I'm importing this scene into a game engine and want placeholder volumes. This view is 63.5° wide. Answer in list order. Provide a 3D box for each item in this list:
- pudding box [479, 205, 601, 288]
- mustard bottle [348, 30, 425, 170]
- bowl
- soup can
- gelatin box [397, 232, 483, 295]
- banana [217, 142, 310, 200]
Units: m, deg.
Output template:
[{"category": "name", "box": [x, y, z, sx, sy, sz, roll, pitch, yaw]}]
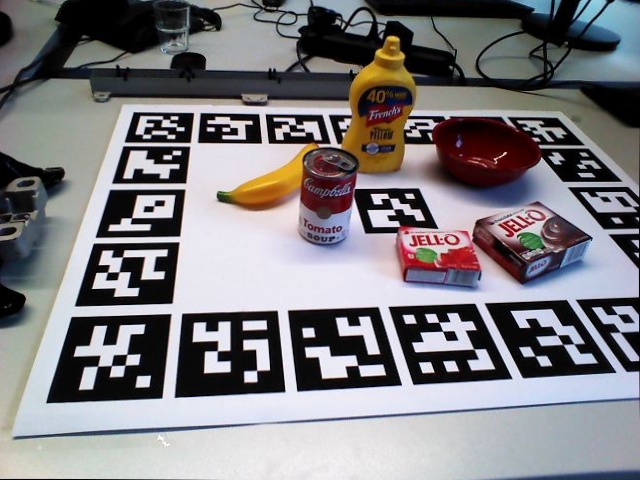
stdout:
[{"category": "pudding box", "box": [0.272, 0.004, 0.646, 0.113, 0.039, 0.090, -17, 50, -25]}, {"category": "mustard bottle", "box": [0.096, -0.194, 0.727, 0.096, 0.192, 0.058, 0, 38, -7]}, {"category": "bowl", "box": [0.261, -0.120, 0.787, 0.162, 0.055, 0.161, 2, 39, -2]}, {"category": "soup can", "box": [0.003, -0.059, 0.629, 0.068, 0.102, 0.067, 5, 38, -4]}, {"category": "gelatin box", "box": [0.139, 0.026, 0.612, 0.089, 0.030, 0.073, 4, 43, -1]}, {"category": "banana", "box": [-0.052, -0.100, 0.735, 0.074, 0.039, 0.196, 20, 41, 32]}]
